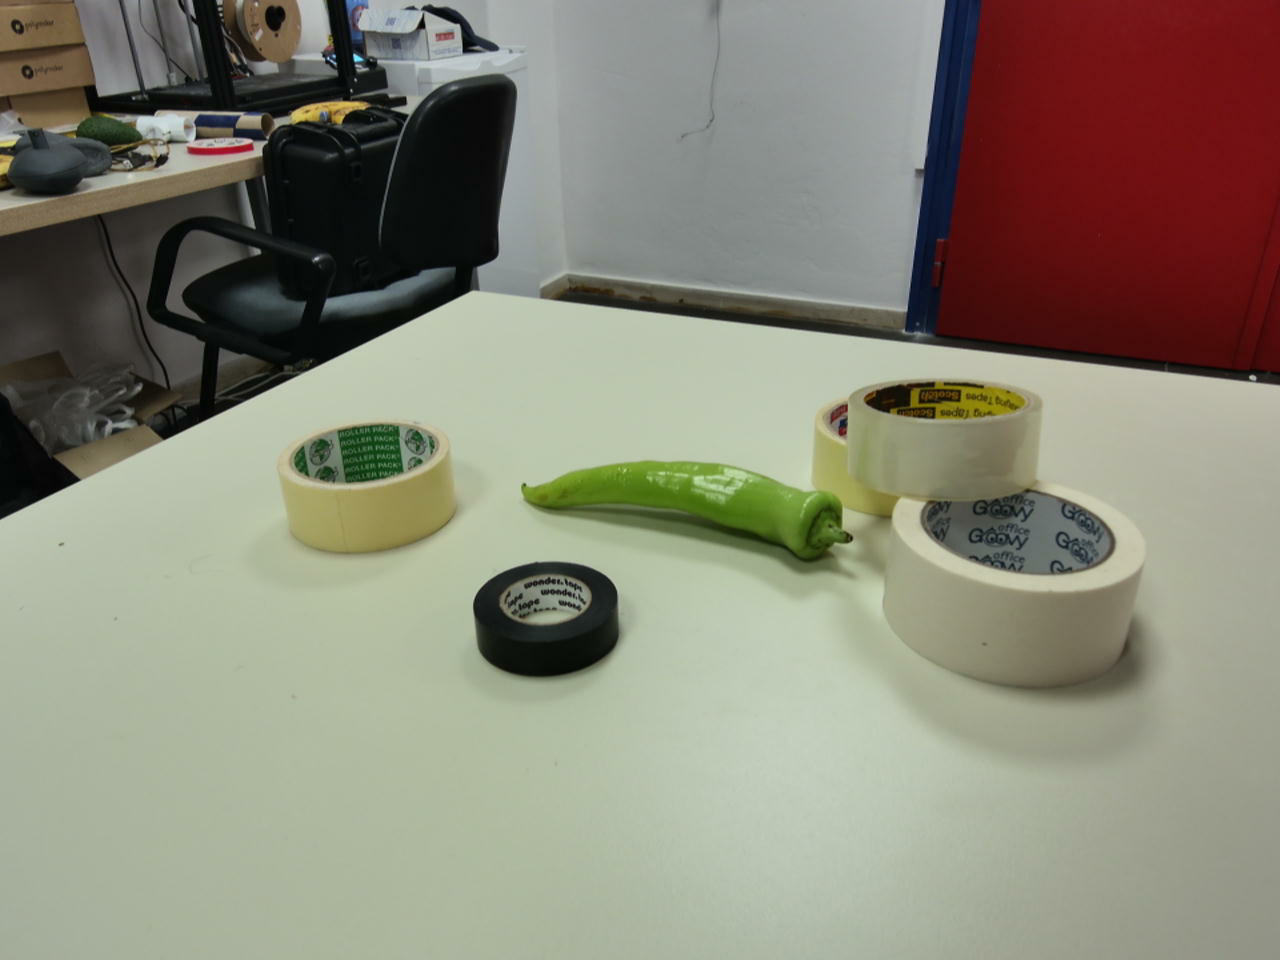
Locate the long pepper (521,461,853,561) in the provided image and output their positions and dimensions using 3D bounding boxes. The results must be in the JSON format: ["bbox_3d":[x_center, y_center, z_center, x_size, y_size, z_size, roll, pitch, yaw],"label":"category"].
[{"bbox_3d":[0.023,0.008,0.542,0.197,0.038,0.046,12,28,25],"label":"long pepper"}]
